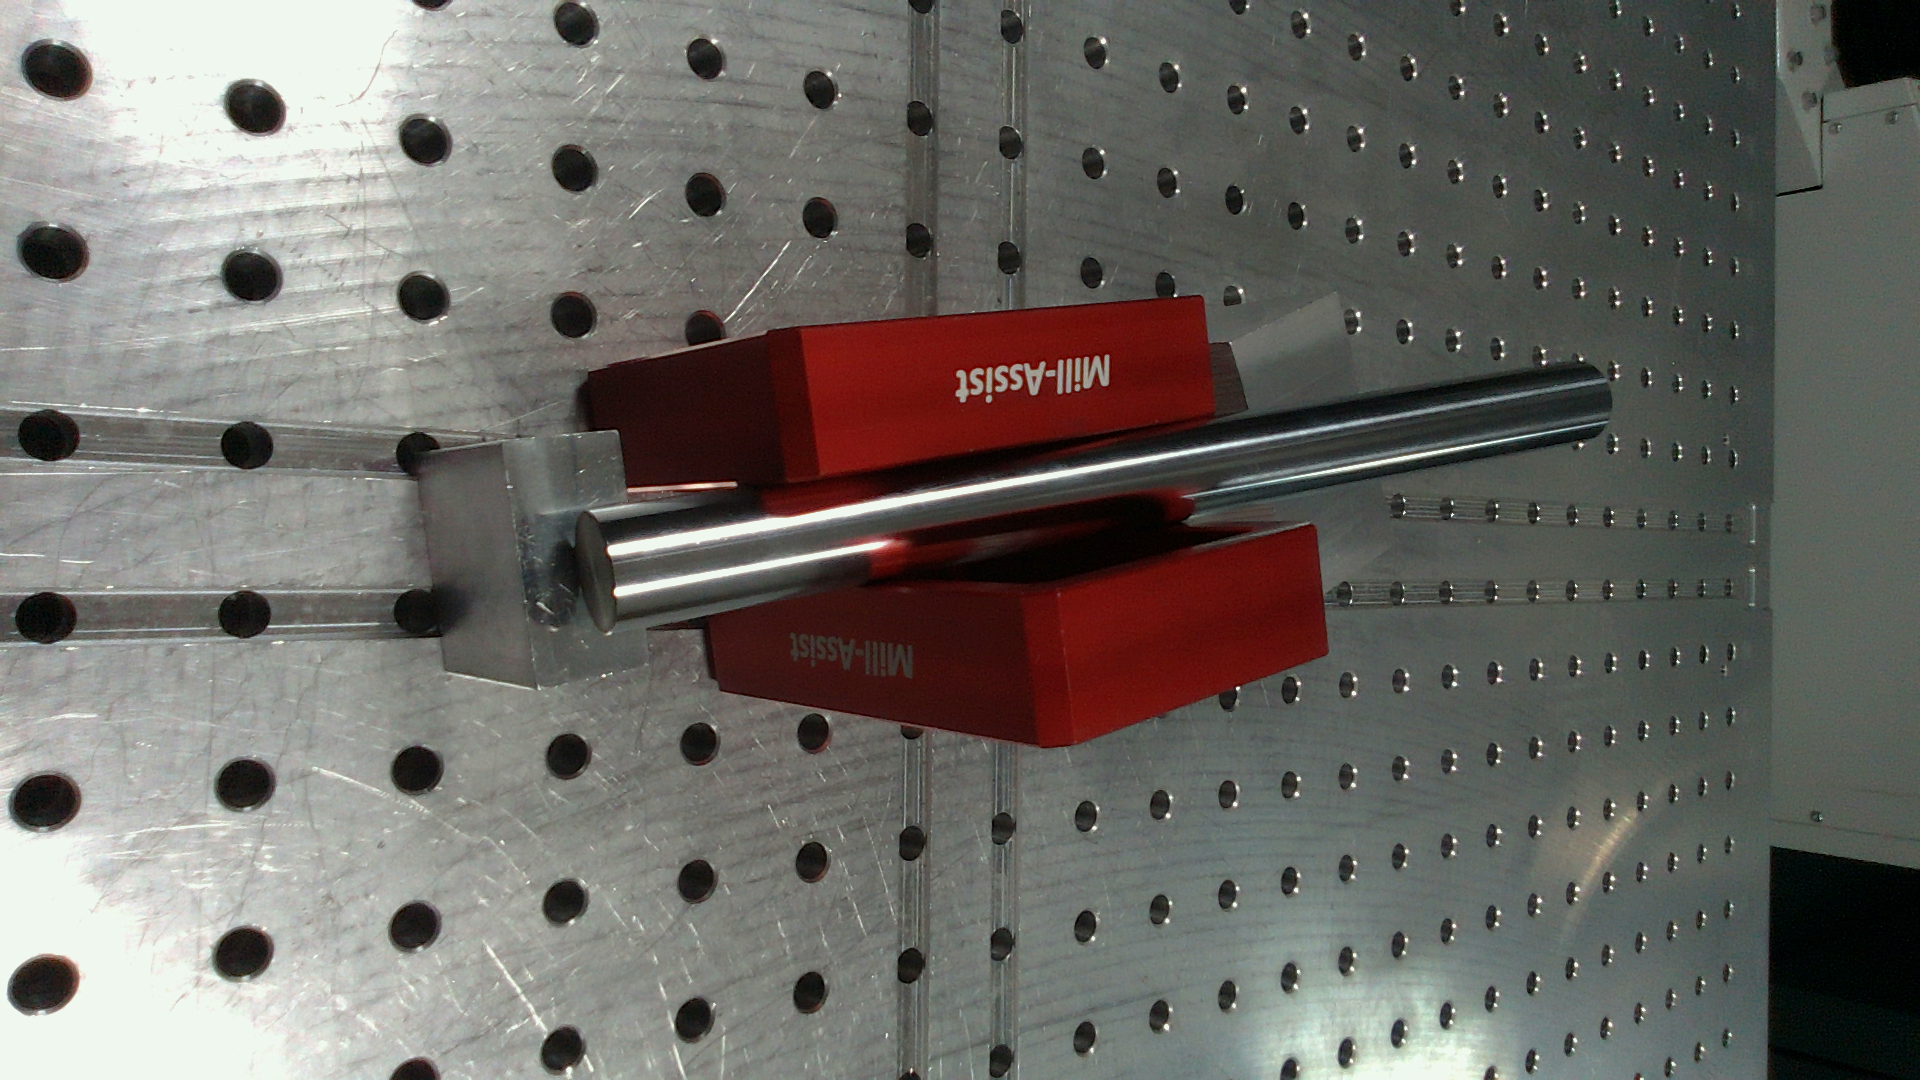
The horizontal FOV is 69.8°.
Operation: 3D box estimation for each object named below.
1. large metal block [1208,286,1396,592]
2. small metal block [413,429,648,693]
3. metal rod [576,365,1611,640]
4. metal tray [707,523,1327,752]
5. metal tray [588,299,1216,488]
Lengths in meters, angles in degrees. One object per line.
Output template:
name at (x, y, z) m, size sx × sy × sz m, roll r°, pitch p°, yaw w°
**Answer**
large metal block at (0.076, -0.026, 0.418) m, size 0.050 × 0.080 × 0.080 m, roll -28°, pitch 108°, yaw -36°
small metal block at (-0.094, 0.004, 0.297) m, size 0.025 × 0.050 × 0.050 m, roll -11°, pitch 97°, yaw -39°
metal rod at (0.058, -0.017, 0.342) m, size 0.301 × 0.025 × 0.025 m, roll -11°, pitch 97°, yaw -30°
metal tray at (0.009, 0.017, 0.331) m, size 0.090 × 0.129 × 0.030 m, roll -12°, pitch 98°, yaw -39°
metal tray at (-0.012, -0.036, 0.339) m, size 0.131 × 0.090 × 0.030 m, roll -12°, pitch 98°, yaw -39°
